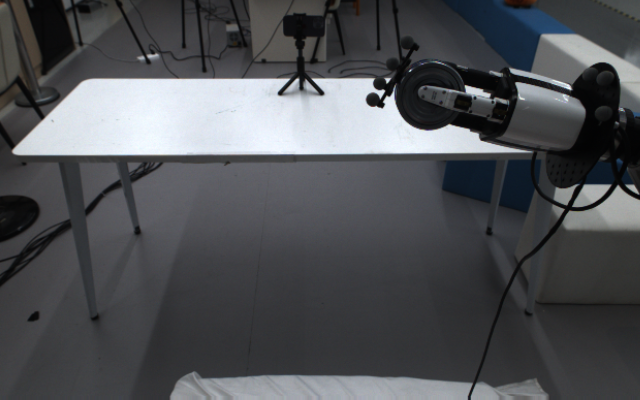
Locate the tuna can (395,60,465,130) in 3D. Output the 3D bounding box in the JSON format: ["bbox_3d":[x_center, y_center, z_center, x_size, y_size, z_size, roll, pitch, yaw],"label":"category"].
[{"bbox_3d":[0.139,-0.136,0.613,0.085,0.085,0.034,3,20,1],"label":"tuna can"}]
